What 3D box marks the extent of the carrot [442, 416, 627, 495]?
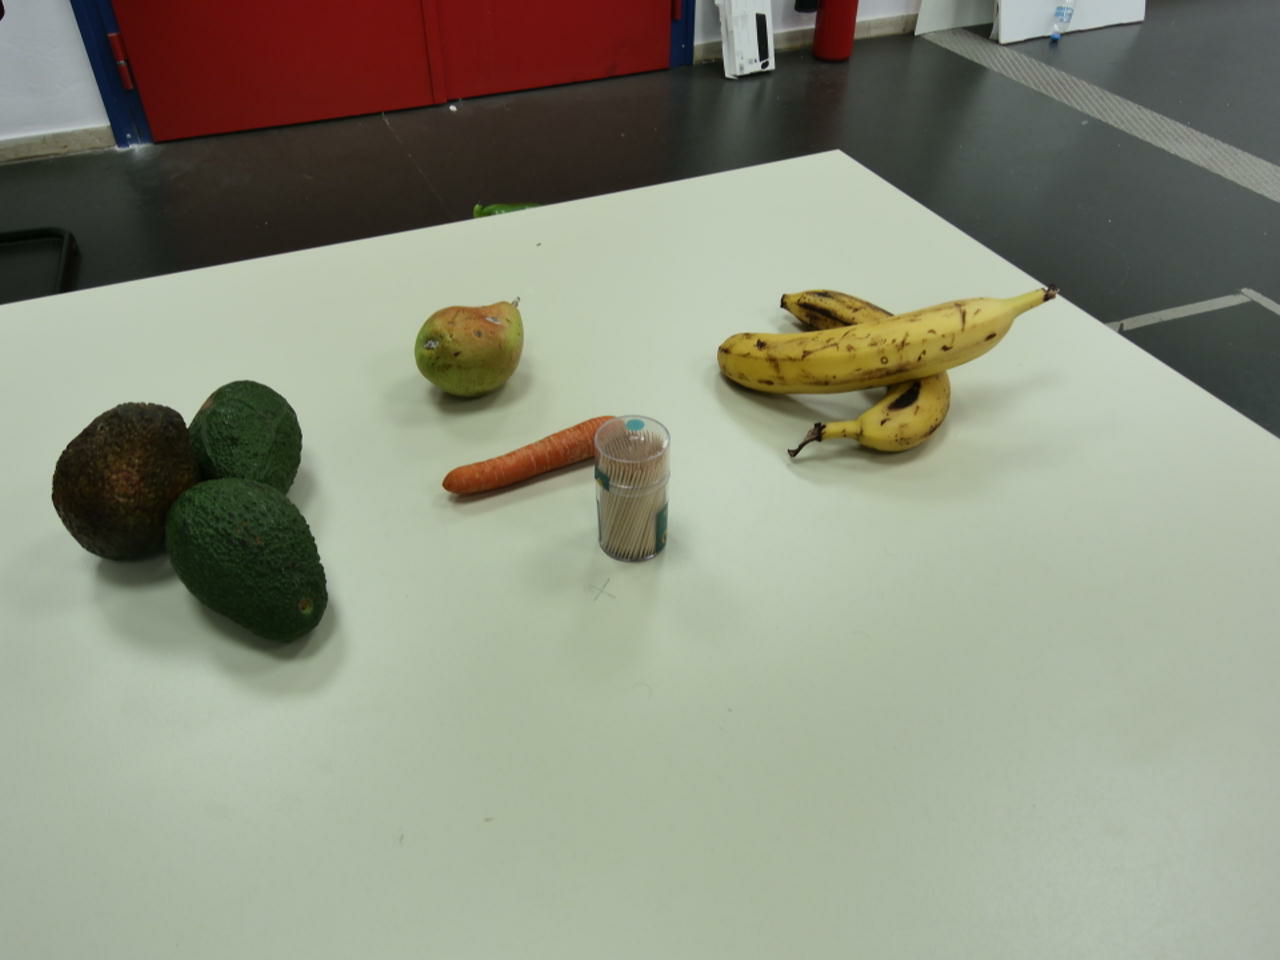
[{"bbox_3d":[-0.063,-0.015,0.616,0.122,0.023,0.024,-18,42,-21],"label":"carrot"}]
